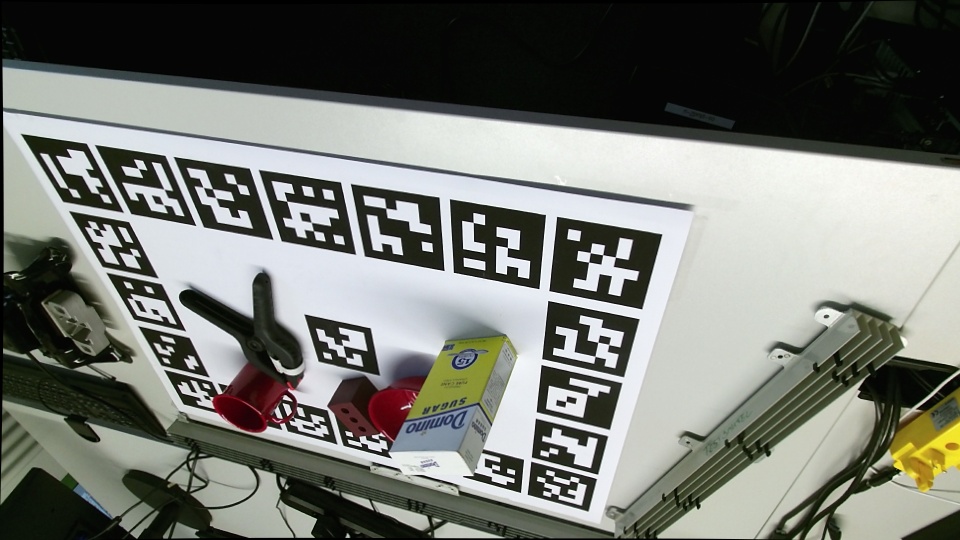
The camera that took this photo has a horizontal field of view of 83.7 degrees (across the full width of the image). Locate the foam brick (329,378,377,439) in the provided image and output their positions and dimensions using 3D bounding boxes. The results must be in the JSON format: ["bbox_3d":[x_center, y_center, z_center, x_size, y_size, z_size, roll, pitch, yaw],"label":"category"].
[{"bbox_3d":[-0.187,0.212,0.819,0.053,0.051,0.078,-14,118,27],"label":"foam brick"}]

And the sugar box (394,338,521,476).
[{"bbox_3d":[-0.021,0.156,0.629,0.093,0.176,0.045,-11,119,28],"label":"sugar box"}]

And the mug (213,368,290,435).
[{"bbox_3d":[-0.358,0.216,0.852,0.117,0.081,0.093,32,130,-1],"label":"mug"}]

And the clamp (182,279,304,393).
[{"bbox_3d":[-0.320,0.109,0.783,0.166,0.036,0.203,-11,120,24],"label":"clamp"}]

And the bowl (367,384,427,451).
[{"bbox_3d":[-0.077,0.215,0.771,0.162,0.055,0.162,10,128,13],"label":"bowl"}]
